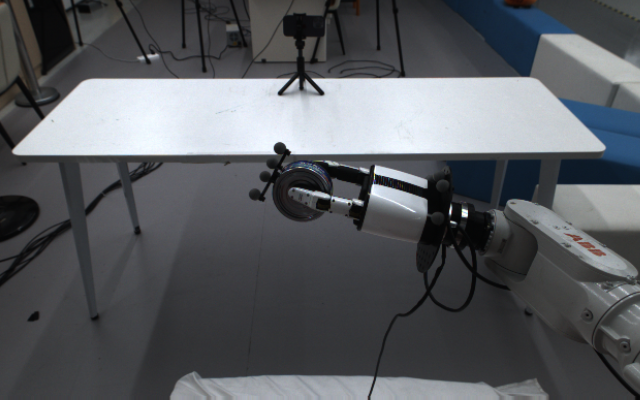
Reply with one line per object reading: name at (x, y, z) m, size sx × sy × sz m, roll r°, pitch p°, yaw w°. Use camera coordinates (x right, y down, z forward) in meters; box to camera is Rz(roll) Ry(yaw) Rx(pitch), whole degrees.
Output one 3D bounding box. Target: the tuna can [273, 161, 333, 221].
tuna can at (-0.022, -0.009, 0.696) m, size 0.085 × 0.085 × 0.034 m, roll 3°, pitch 21°, yaw 2°
